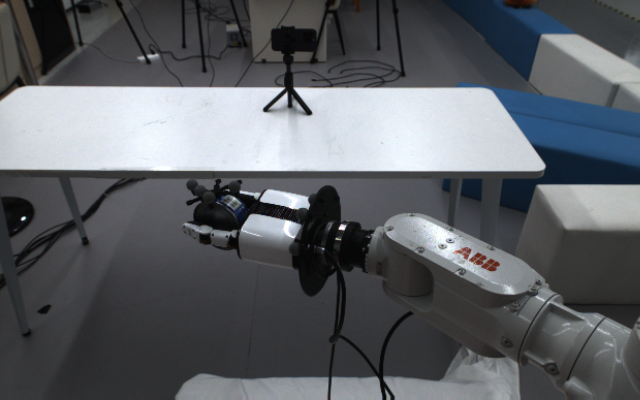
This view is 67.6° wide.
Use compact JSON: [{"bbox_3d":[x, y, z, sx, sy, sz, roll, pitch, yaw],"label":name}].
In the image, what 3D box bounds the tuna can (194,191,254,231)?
[{"bbox_3d":[-0.144,0.032,0.729,0.085,0.085,0.034,17,35,20],"label":"tuna can"}]
